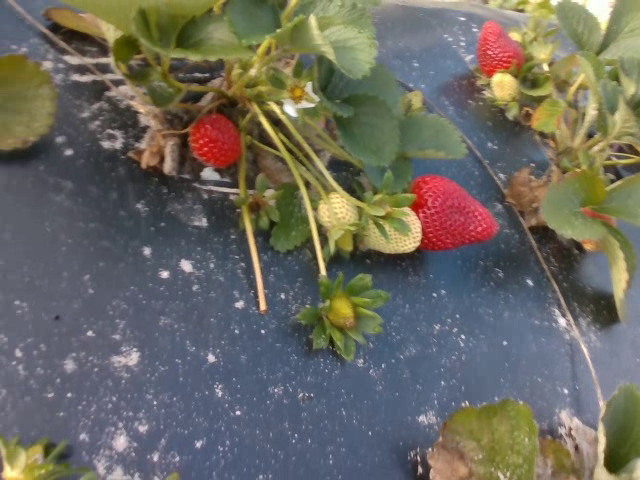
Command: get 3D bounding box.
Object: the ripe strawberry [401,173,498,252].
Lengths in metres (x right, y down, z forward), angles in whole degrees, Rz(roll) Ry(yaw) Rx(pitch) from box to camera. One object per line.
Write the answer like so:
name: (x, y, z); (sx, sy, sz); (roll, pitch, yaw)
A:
ripe strawberry: (0.082, -0.011, 0.401); (0.055, 0.051, 0.048); (22, -5, 20)
